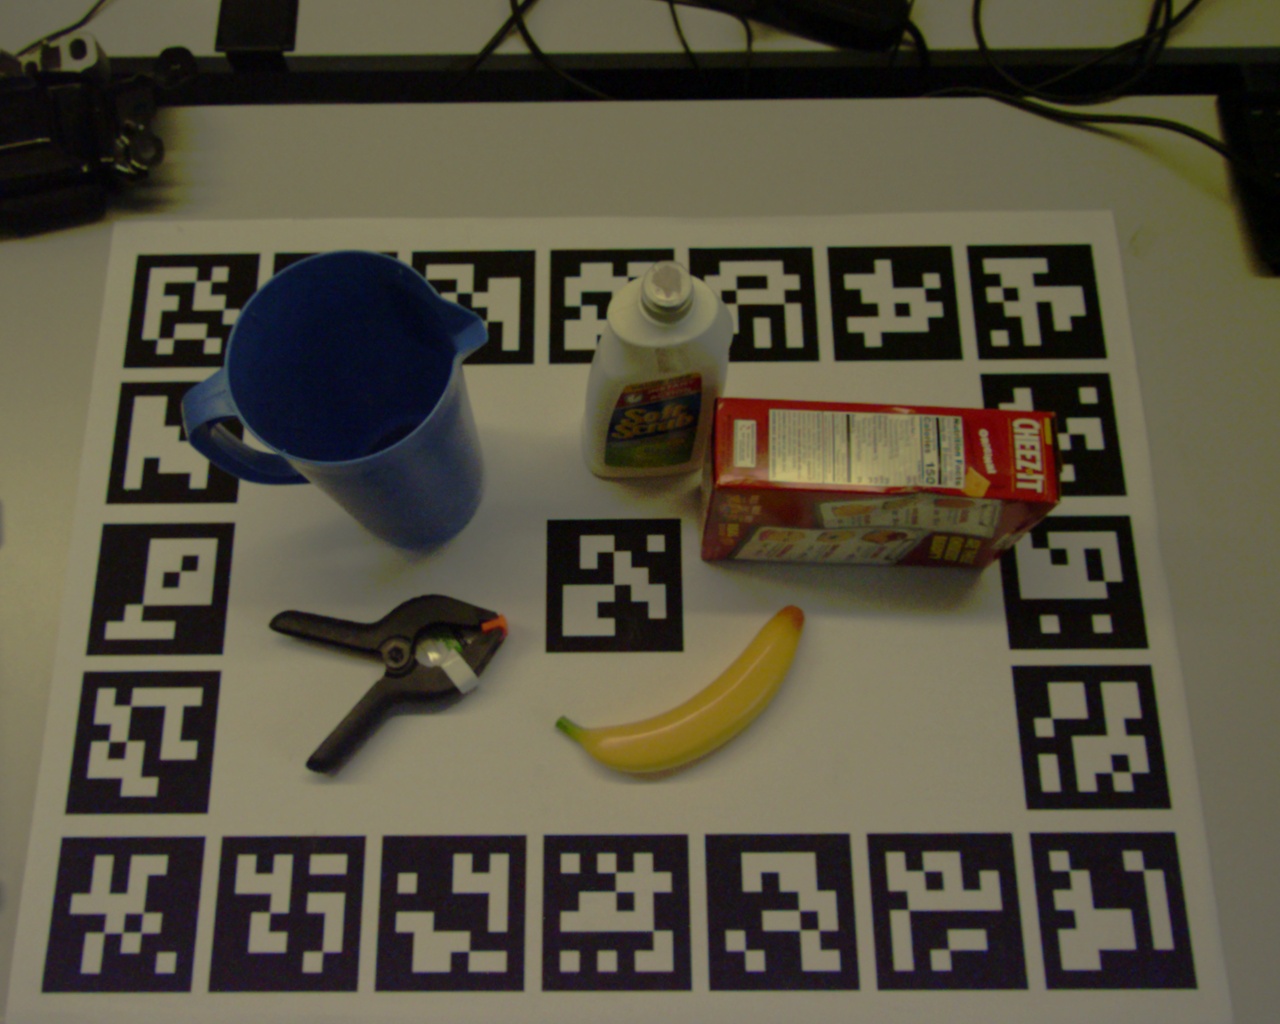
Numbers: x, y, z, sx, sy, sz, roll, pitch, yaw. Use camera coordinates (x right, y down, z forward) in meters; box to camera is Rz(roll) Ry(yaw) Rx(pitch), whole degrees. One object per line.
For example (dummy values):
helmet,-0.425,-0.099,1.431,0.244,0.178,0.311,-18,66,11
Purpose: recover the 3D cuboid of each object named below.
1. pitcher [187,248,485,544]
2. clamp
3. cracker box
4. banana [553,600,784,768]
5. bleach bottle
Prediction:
pitcher,-0.191,-0.059,0.785,0.188,0.242,0.134,-16,72,-8
clamp,-0.184,0.105,0.861,0.165,0.036,0.122,-14,71,-6
cracker box,0.149,-0.004,0.810,0.214,0.163,0.072,3,69,3
banana,0.035,0.136,0.855,0.197,0.039,0.075,-32,74,-9
bleach bottle,-0.003,-0.087,0.811,0.103,0.250,0.068,1,71,1
